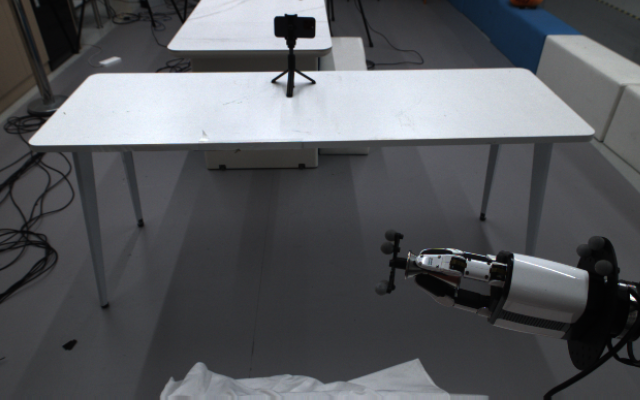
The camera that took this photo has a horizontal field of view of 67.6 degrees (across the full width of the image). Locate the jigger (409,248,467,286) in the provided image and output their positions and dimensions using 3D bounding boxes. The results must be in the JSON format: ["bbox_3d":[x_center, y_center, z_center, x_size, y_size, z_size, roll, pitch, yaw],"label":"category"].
[{"bbox_3d":[0.153,0.085,0.625,0.071,0.043,0.043,8,35,14],"label":"jigger"}]
